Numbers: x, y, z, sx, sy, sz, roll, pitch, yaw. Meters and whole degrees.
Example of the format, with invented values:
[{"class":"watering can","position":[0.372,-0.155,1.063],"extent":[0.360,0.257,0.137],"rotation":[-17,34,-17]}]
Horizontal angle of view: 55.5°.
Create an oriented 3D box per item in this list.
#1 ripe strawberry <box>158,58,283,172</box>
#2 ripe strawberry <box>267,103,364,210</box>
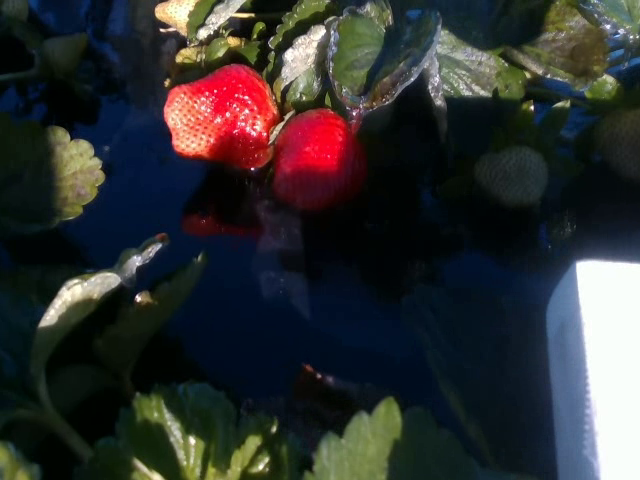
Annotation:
[{"class":"ripe strawberry","position":[-0.047,-0.058,0.293],"extent":[0.069,0.053,0.040],"rotation":[-31,-22,-21]},{"class":"ripe strawberry","position":[-0.003,-0.040,0.267],"extent":[0.043,0.059,0.040],"rotation":[4,-35,7]}]
